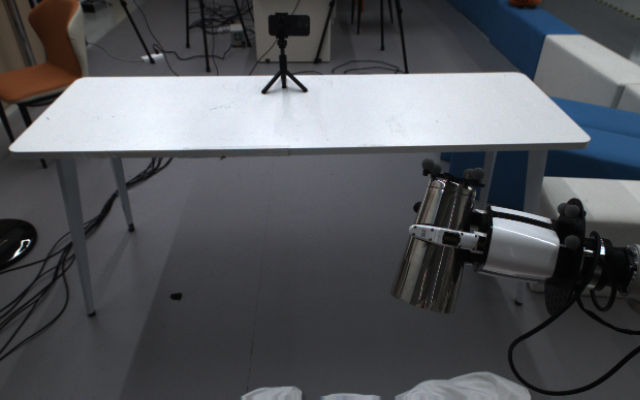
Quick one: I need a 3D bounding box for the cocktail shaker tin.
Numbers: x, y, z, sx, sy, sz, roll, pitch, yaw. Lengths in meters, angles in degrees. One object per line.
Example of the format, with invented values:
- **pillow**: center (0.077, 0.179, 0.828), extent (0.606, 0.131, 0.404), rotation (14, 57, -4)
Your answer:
- **cocktail shaker tin**: center (0.163, 0.059, 0.676), extent (0.093, 0.170, 0.093), rotation (14, 2, -1)
